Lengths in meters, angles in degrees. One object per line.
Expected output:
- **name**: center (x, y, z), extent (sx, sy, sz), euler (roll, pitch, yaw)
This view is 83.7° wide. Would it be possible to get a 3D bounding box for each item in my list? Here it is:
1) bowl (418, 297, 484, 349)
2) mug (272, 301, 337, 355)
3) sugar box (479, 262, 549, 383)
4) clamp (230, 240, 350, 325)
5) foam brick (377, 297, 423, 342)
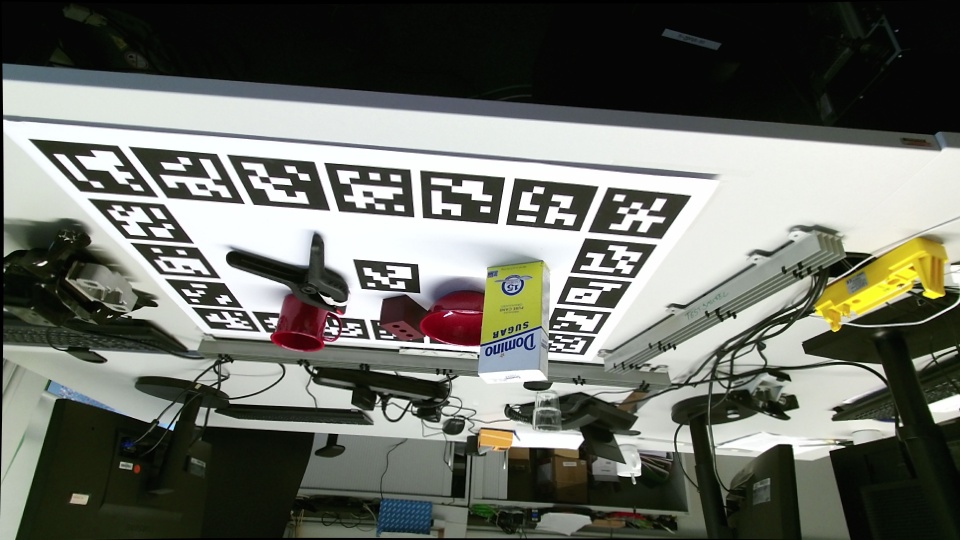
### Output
- **bowl**: center (-0.026, 0.092, 0.940), extent (0.162, 0.055, 0.162), euler (3, 147, 2)
- **mug**: center (-0.316, 0.113, 0.969), extent (0.117, 0.081, 0.093), euler (22, 143, -21)
- **sugar box**: center (0.053, 0.076, 0.797), extent (0.093, 0.175, 0.045), euler (-9, 143, 20)
- **clamp**: center (-0.275, 0.030, 0.872), extent (0.166, 0.036, 0.203), euler (-11, 144, 17)
- **foam brick**: center (-0.144, 0.092, 0.964), extent (0.053, 0.051, 0.078), euler (-12, 143, 21)
